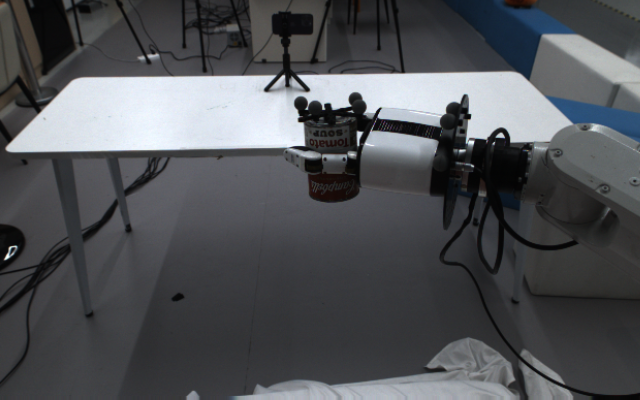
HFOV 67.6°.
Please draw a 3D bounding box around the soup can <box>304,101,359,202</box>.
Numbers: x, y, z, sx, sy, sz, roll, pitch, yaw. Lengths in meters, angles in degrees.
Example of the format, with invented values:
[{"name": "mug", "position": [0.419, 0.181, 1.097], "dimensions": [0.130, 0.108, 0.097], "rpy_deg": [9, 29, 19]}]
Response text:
[{"name": "soup can", "position": [0.017, -0.056, 0.618], "dimensions": [0.067, 0.101, 0.067], "rpy_deg": [-4, 25, 2]}]
